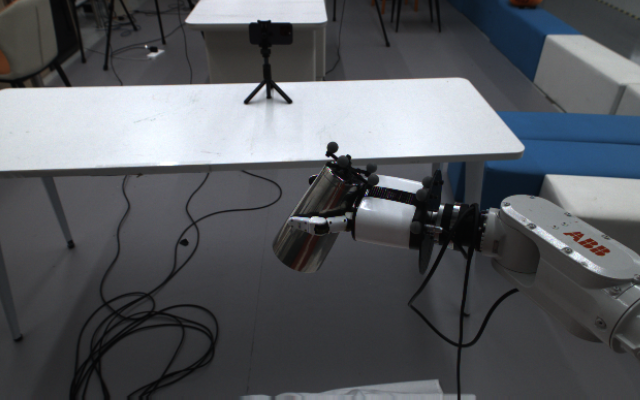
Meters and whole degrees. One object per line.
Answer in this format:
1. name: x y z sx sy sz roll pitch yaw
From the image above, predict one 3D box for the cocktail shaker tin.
1. cocktail shaker tin: 0.001 0.020 0.774 0.093 0.170 0.093 25 29 -15
